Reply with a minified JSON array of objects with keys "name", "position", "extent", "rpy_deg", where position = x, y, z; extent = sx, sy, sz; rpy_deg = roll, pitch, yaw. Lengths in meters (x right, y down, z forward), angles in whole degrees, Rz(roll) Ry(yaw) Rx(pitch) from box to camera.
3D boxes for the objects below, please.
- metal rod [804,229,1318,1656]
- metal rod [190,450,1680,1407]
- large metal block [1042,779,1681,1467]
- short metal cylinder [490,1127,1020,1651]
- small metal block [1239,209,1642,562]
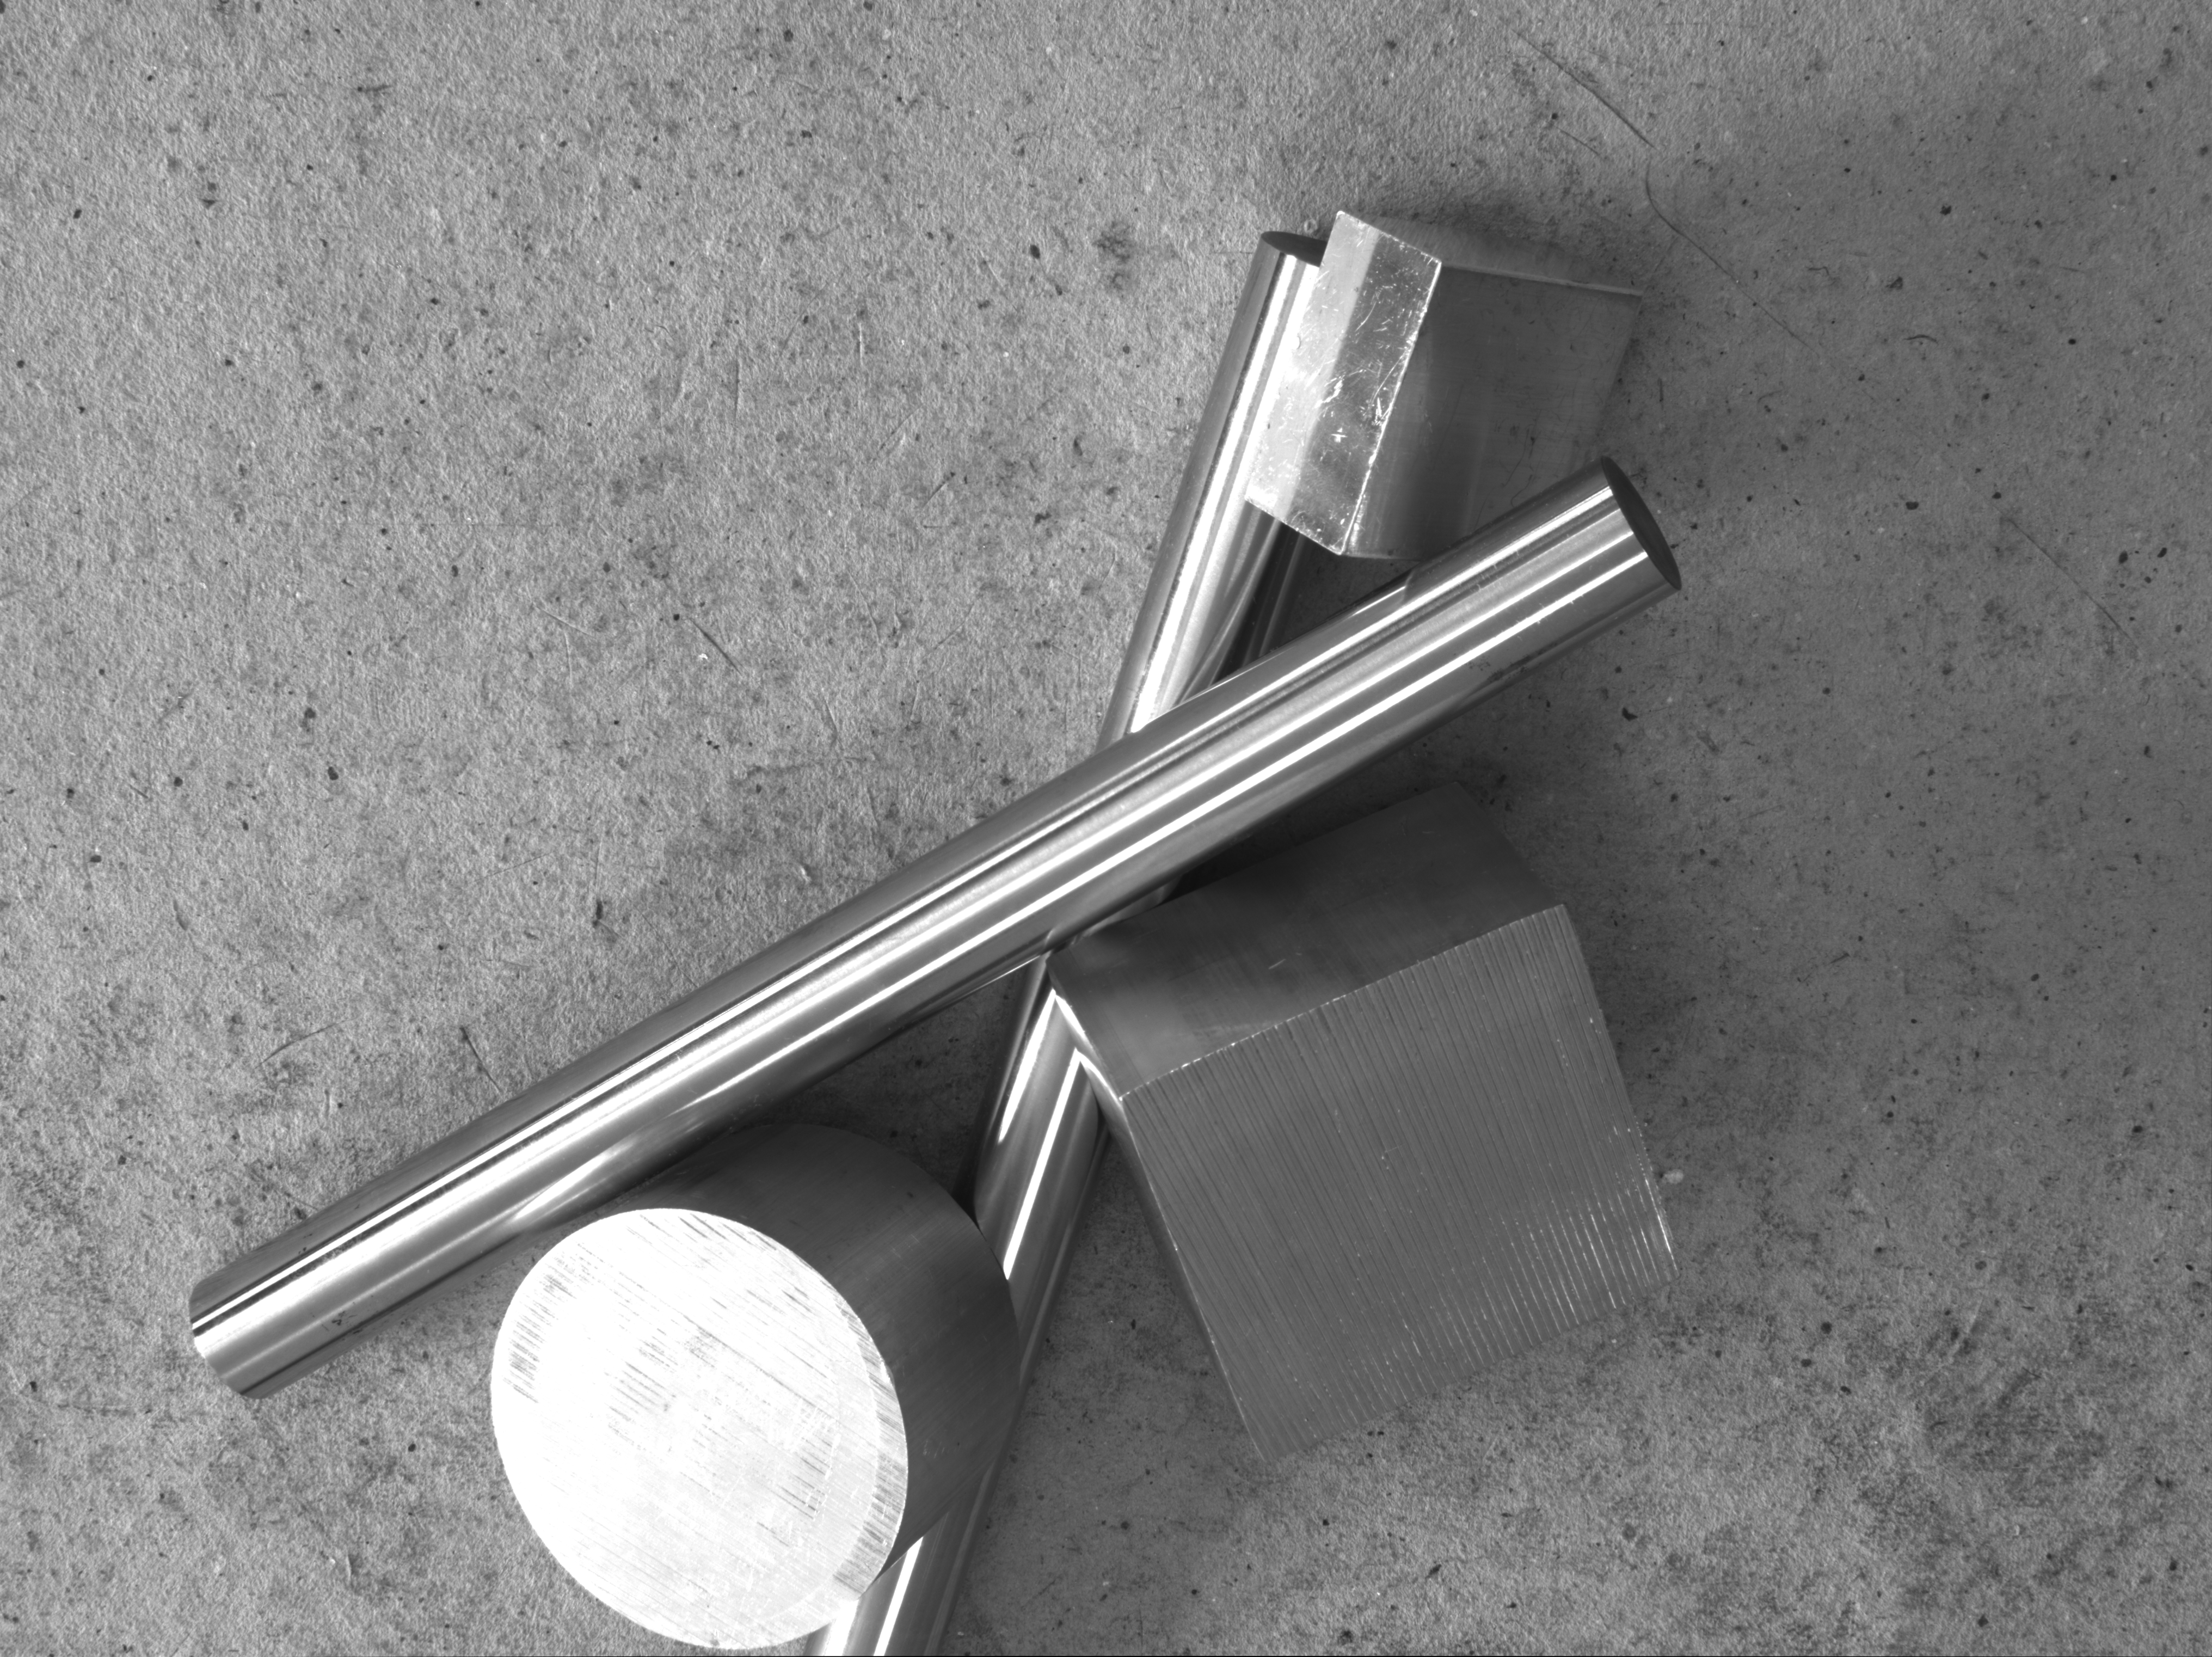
[{"name":"metal rod","position":[-0.006,0.040,0.658],"extent":[0.025,0.025,0.300],"rpy_deg":[16,109,-6]},{"name":"metal rod","position":[-0.037,0.023,0.634],"extent":[0.300,0.025,0.025],"rpy_deg":[-31,107,17]},{"name":"large metal block","position":[0.044,0.050,0.634],"extent":[0.080,0.050,0.080],"rpy_deg":[-23,118,-5]},{"name":"short metal cylinder","position":[-0.062,0.098,0.653],"extent":[0.080,0.050,0.080],"rpy_deg":[5,104,20]},{"name":"small metal block","position":[0.055,-0.071,0.605],"extent":[0.050,0.025,0.050],"rpy_deg":[-1,116,-43]}]
